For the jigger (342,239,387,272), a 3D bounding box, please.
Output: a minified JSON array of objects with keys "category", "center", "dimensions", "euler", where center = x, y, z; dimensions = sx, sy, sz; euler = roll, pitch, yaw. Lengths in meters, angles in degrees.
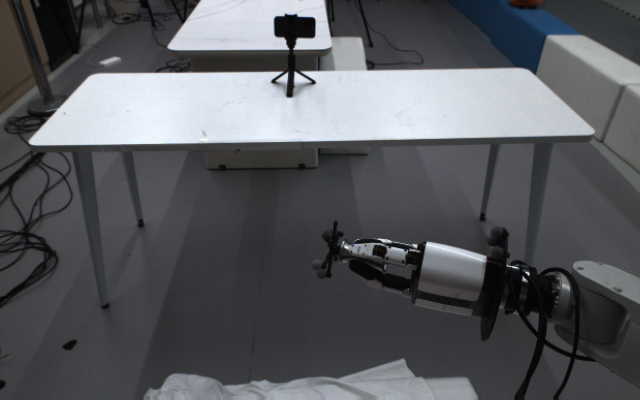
[{"category":"jigger","center":[0.073,0.079,0.722],"dimensions":[0.071,0.043,0.043],"euler":[10,35,16]}]
